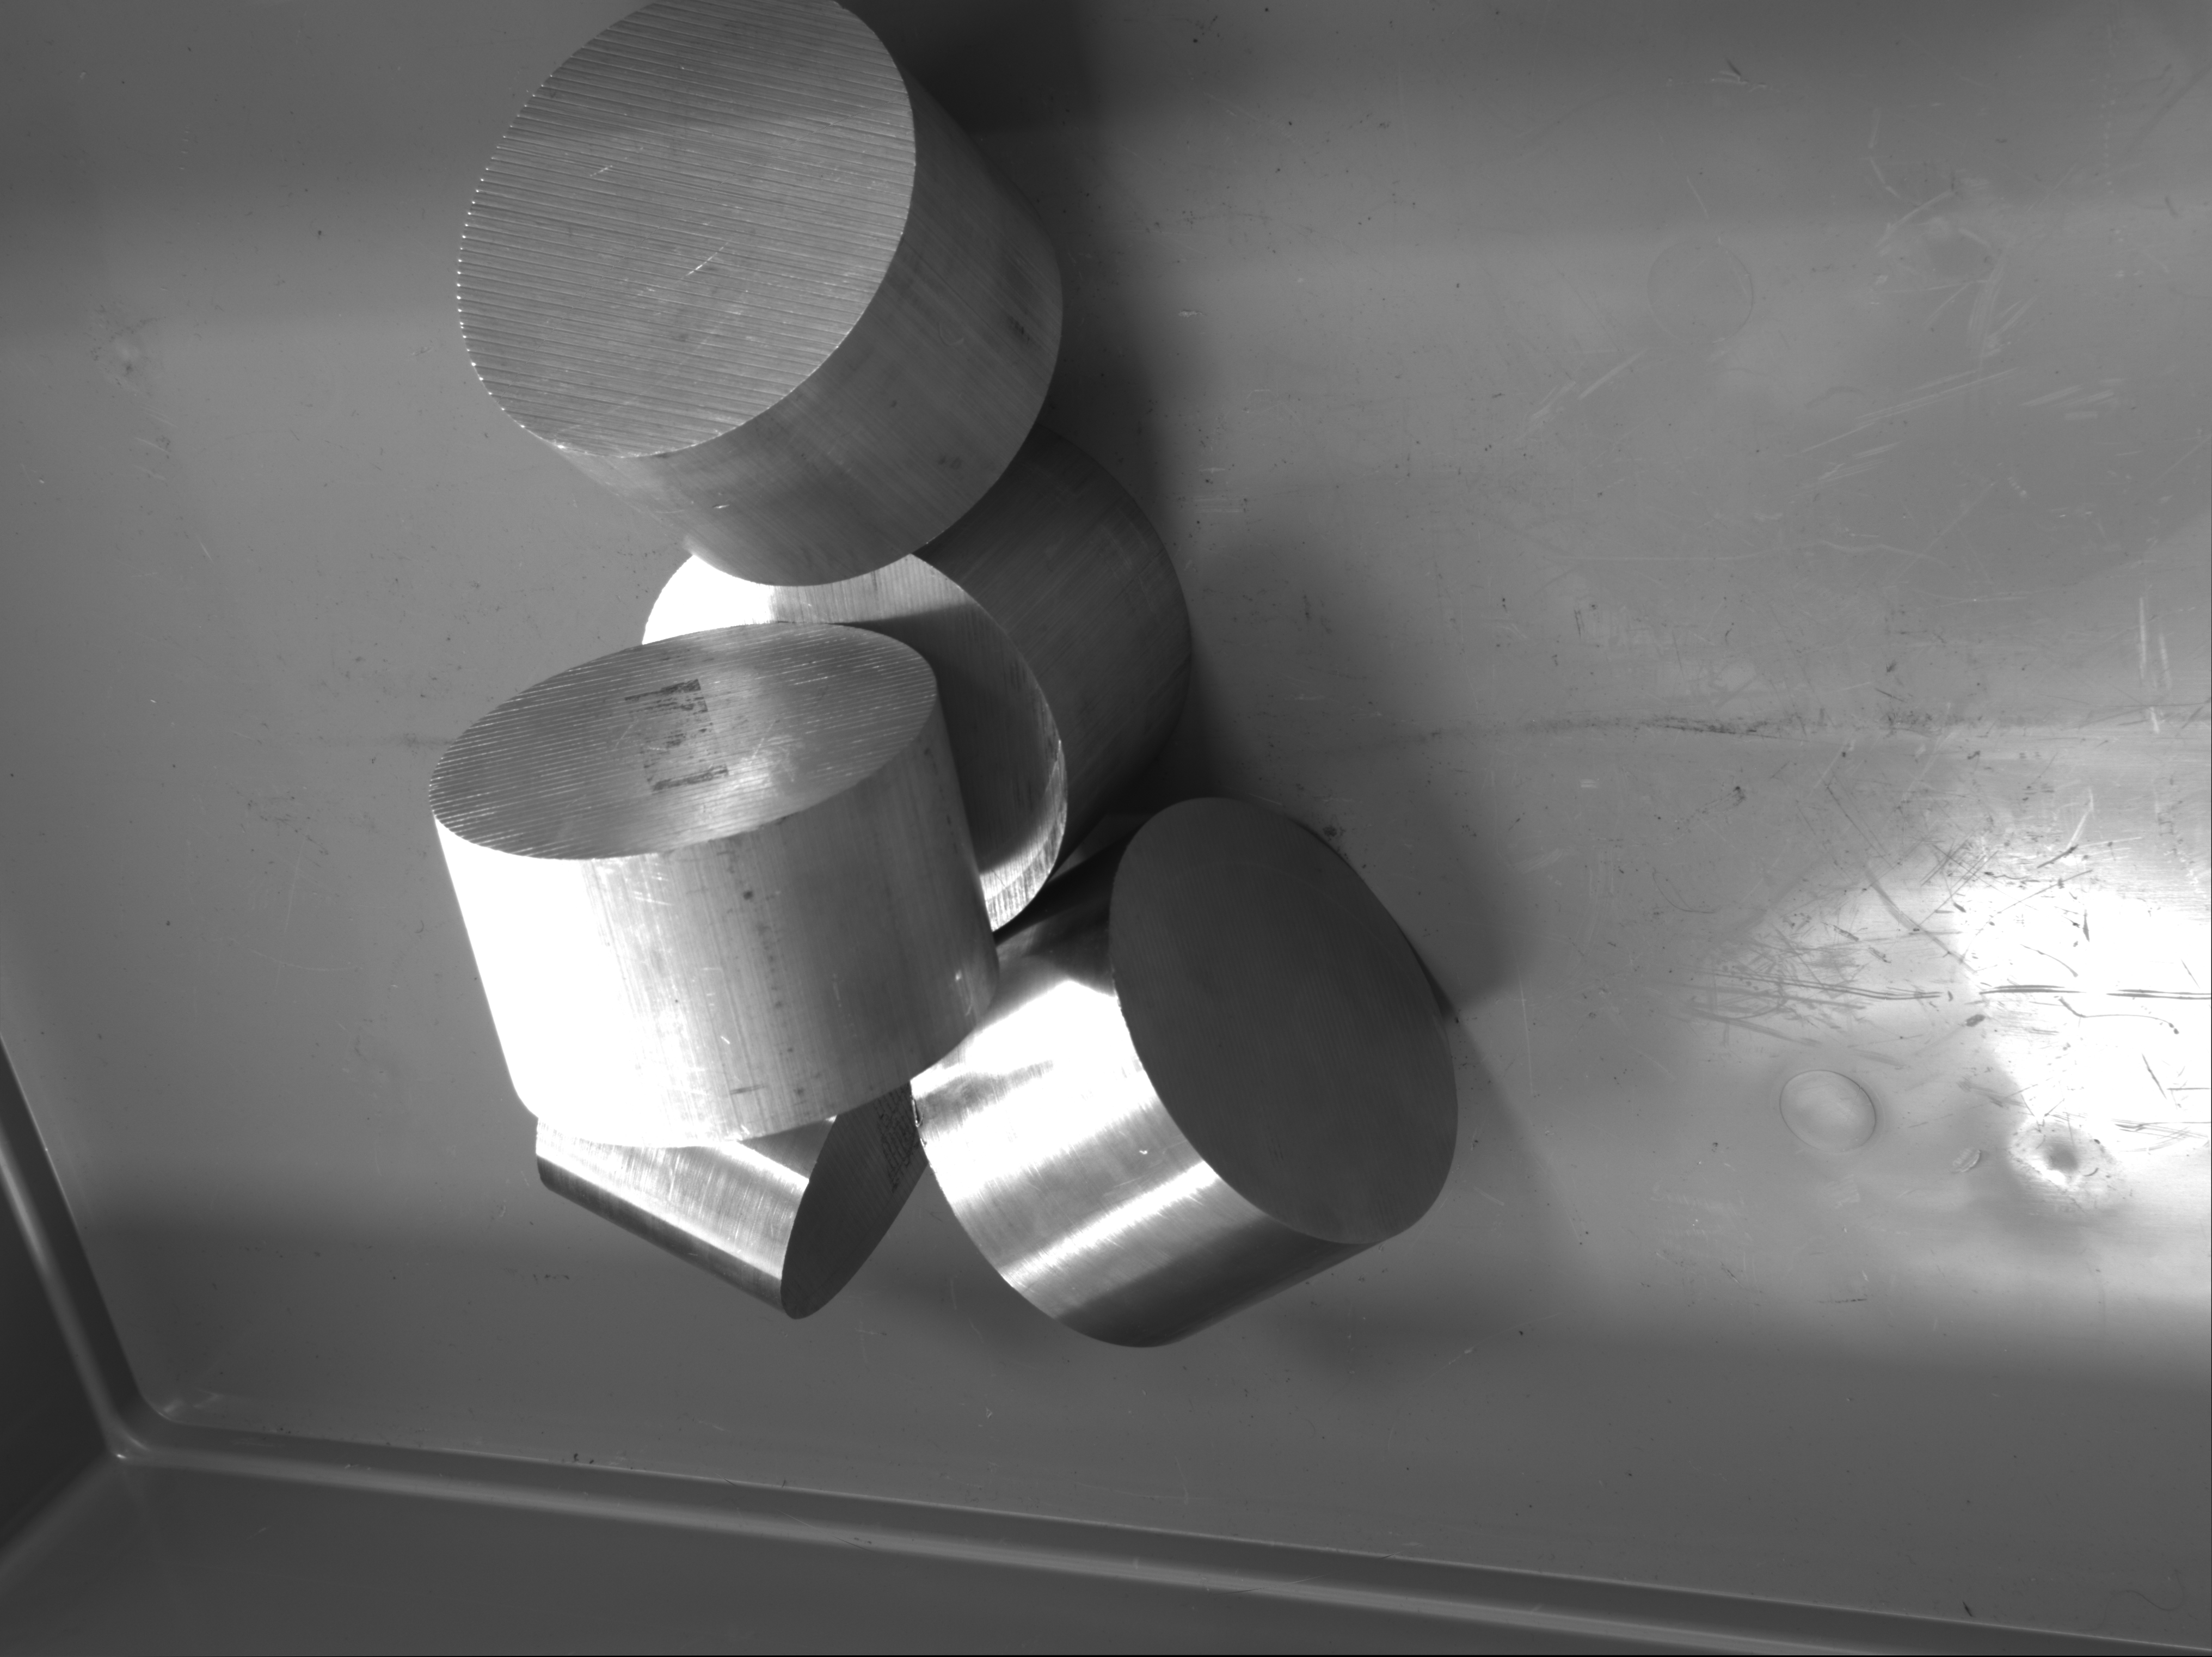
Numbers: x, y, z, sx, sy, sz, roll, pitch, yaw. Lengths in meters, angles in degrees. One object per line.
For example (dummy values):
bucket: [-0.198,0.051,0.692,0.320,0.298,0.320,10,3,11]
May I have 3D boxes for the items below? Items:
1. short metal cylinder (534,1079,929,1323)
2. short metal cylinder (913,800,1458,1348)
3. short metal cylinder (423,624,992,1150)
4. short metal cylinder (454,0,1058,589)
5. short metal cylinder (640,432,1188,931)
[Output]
short metal cylinder: [-0.060,0.042,0.663,0.050,0.080,0.080,26,128,13]
short metal cylinder: [0.014,0.042,0.624,0.050,0.080,0.080,-32,100,39]
short metal cylinder: [-0.062,0.008,0.578,0.080,0.080,0.050,3,120,27]
short metal cylinder: [-0.054,-0.084,0.575,0.080,0.080,0.050,4,163,26]
short metal cylinder: [-0.033,-0.025,0.625,0.080,0.050,0.080,13,124,21]
